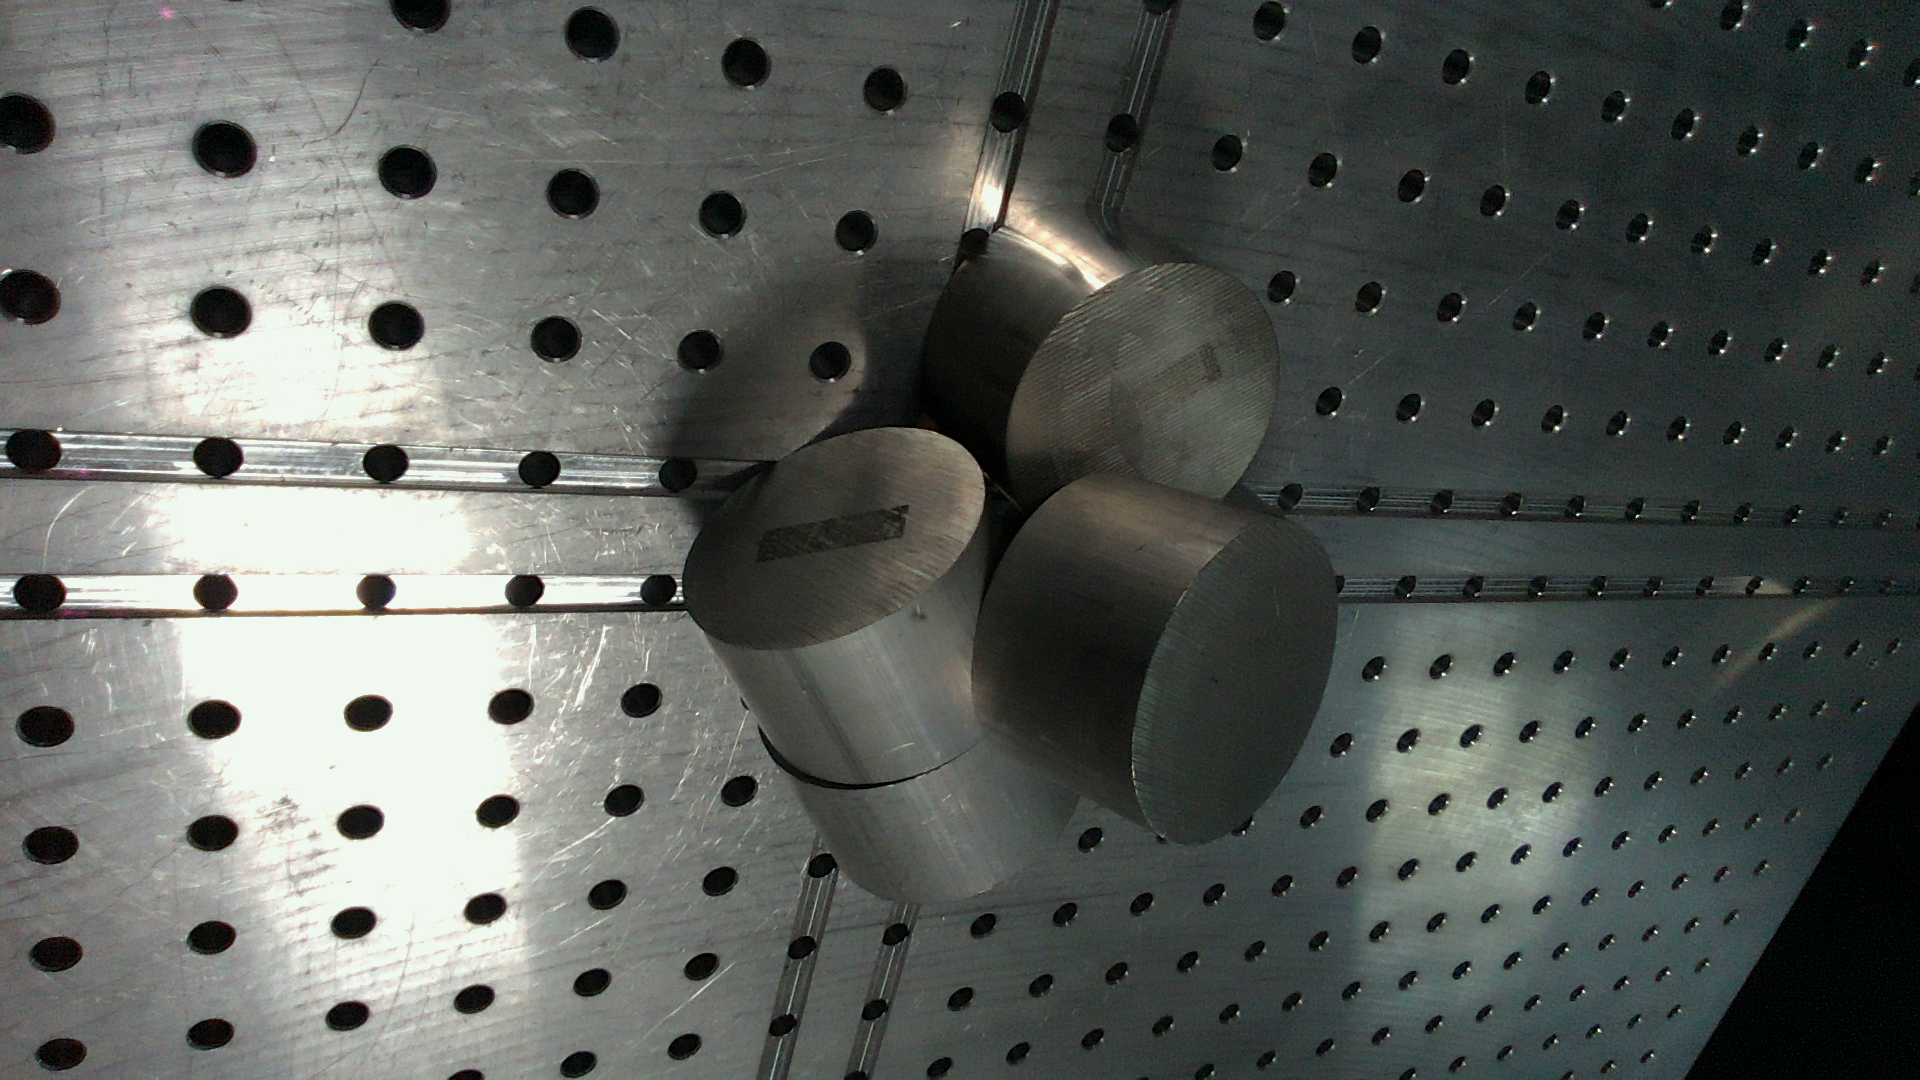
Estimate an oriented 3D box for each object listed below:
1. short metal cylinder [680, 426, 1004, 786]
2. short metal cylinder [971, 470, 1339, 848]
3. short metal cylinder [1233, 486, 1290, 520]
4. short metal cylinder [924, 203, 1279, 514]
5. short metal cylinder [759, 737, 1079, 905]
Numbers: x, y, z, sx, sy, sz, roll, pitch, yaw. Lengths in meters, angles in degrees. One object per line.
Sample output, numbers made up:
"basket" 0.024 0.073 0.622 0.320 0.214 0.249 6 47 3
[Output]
"short metal cylinder" -0.024 0.015 0.353 0.080 0.080 0.050 -30 128 -9
"short metal cylinder" 0.049 0.028 0.336 0.080 0.050 0.080 -20 119 -40
"short metal cylinder" 0.062 0.015 0.418 0.080 0.050 0.080 -14 124 -21
"short metal cylinder" 0.037 -0.044 0.368 0.080 0.050 0.080 -14 124 -21
"short metal cylinder" -0.010 0.053 0.384 0.080 0.080 0.050 -30 128 -9
